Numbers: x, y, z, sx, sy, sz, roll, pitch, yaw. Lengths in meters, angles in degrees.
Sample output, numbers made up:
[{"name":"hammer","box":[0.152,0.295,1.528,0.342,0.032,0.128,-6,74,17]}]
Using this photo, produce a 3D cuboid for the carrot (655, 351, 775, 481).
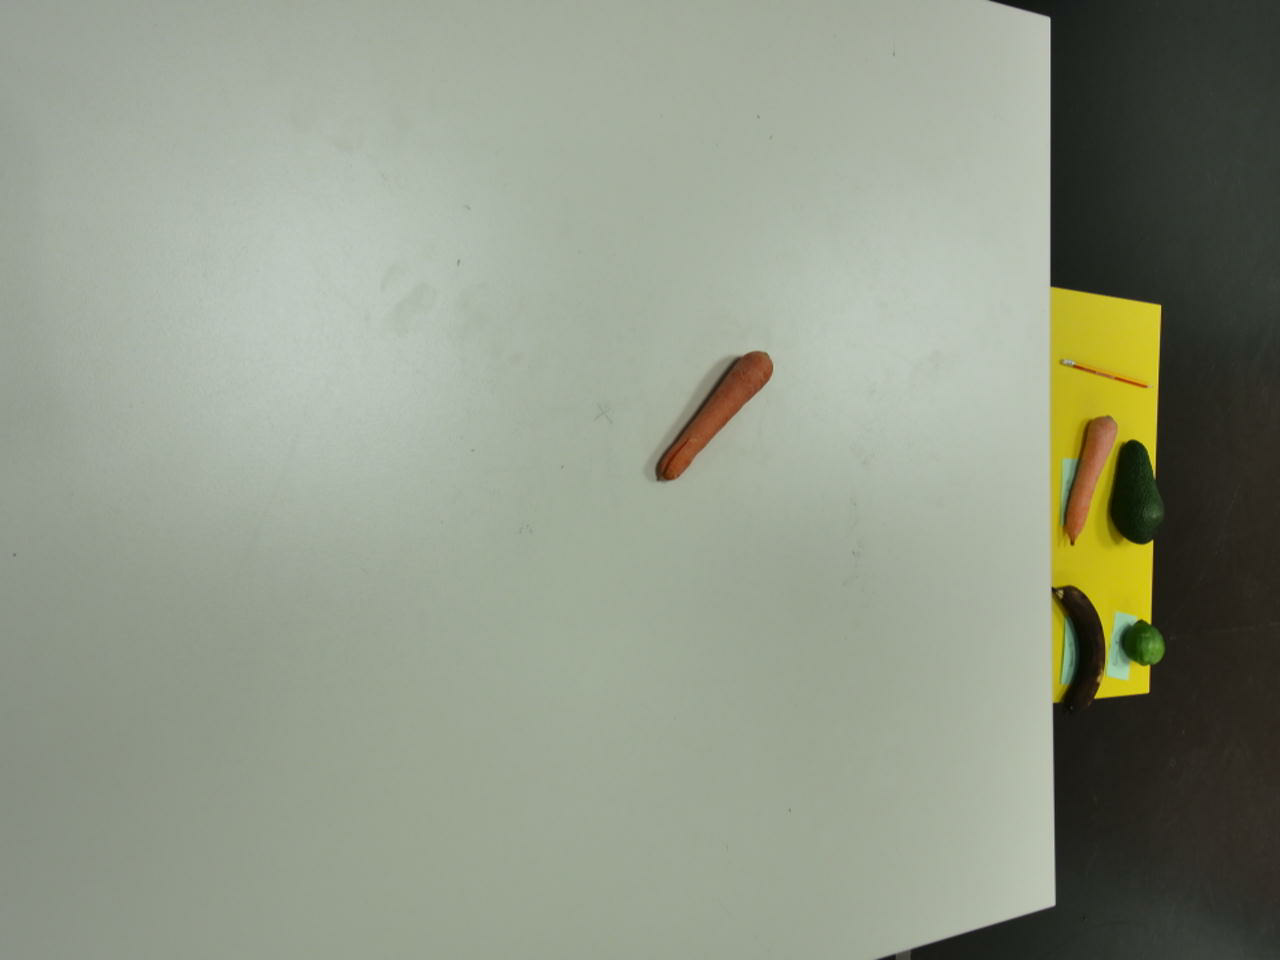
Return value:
[{"name":"carrot","box":[0.057,-0.051,0.760,0.030,0.032,0.136,48,69,-20]}]
